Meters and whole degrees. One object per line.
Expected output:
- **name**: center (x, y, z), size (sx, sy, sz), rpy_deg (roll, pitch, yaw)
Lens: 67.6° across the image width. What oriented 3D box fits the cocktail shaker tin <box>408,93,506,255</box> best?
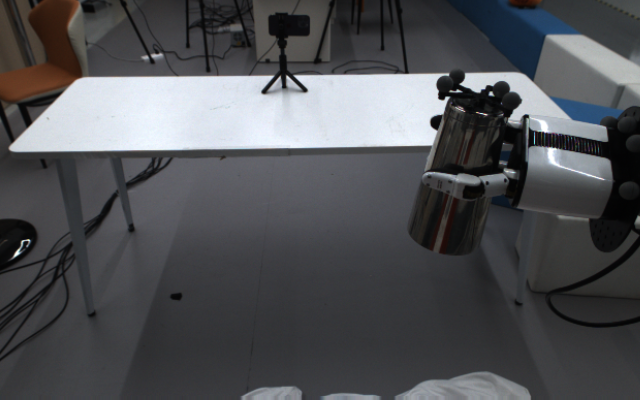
- **cocktail shaker tin**: center (0.164, -0.032, 0.565), size (0.093, 0.170, 0.093), rpy_deg (4, 32, -2)
